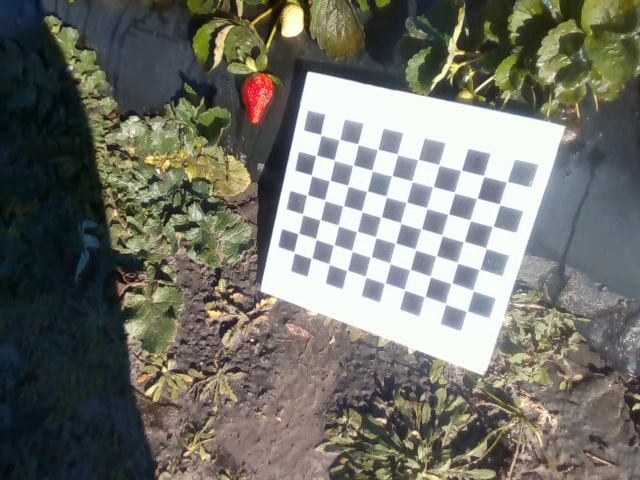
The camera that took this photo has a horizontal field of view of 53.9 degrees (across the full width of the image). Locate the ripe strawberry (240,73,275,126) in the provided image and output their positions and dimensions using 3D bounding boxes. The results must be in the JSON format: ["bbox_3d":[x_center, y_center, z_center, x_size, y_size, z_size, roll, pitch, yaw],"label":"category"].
[{"bbox_3d":[-0.077,-0.168,0.747,0.048,0.068,0.040,-1,-1,26],"label":"ripe strawberry"}]
